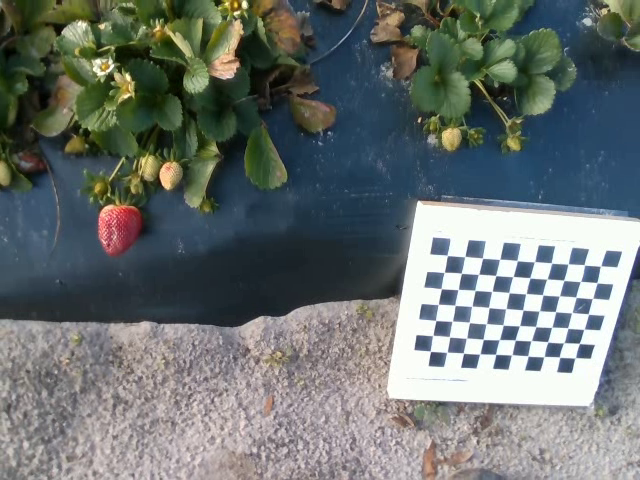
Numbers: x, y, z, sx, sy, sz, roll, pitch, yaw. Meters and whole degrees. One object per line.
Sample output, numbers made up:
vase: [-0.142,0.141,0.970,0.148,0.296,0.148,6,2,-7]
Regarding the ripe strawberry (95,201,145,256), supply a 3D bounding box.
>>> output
ripe strawberry: [-0.252,-0.012,0.688,0.052,0.068,0.045,0,-24,-6]
